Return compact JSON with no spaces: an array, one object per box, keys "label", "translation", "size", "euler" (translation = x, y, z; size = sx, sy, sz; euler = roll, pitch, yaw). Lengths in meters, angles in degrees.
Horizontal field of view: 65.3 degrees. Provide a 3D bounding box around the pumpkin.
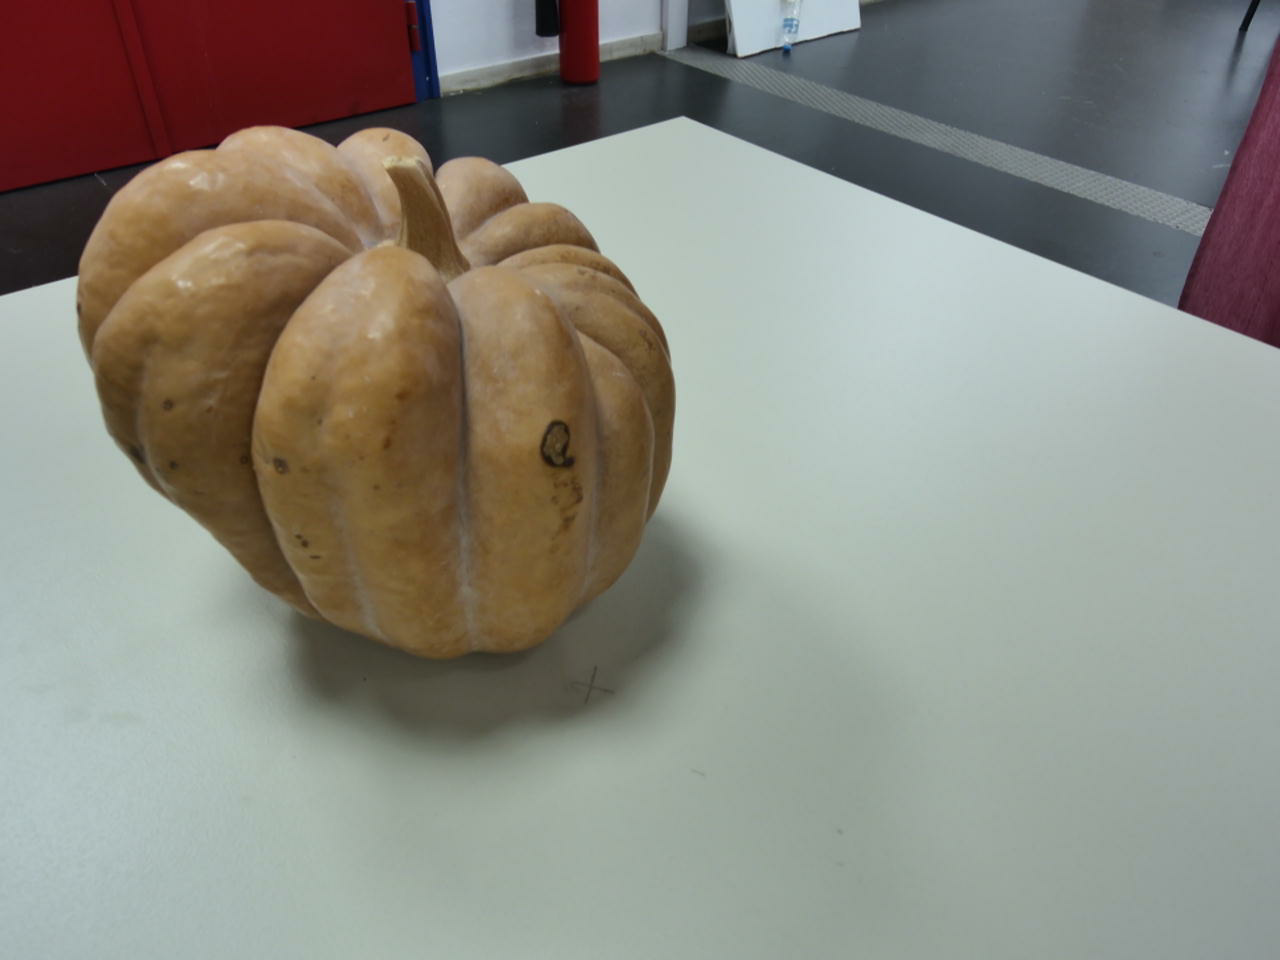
[{"label":"pumpkin","translation":[-0.084,-0.030,0.354],"size":[0.199,0.177,0.198],"euler":[0,37,0]}]
